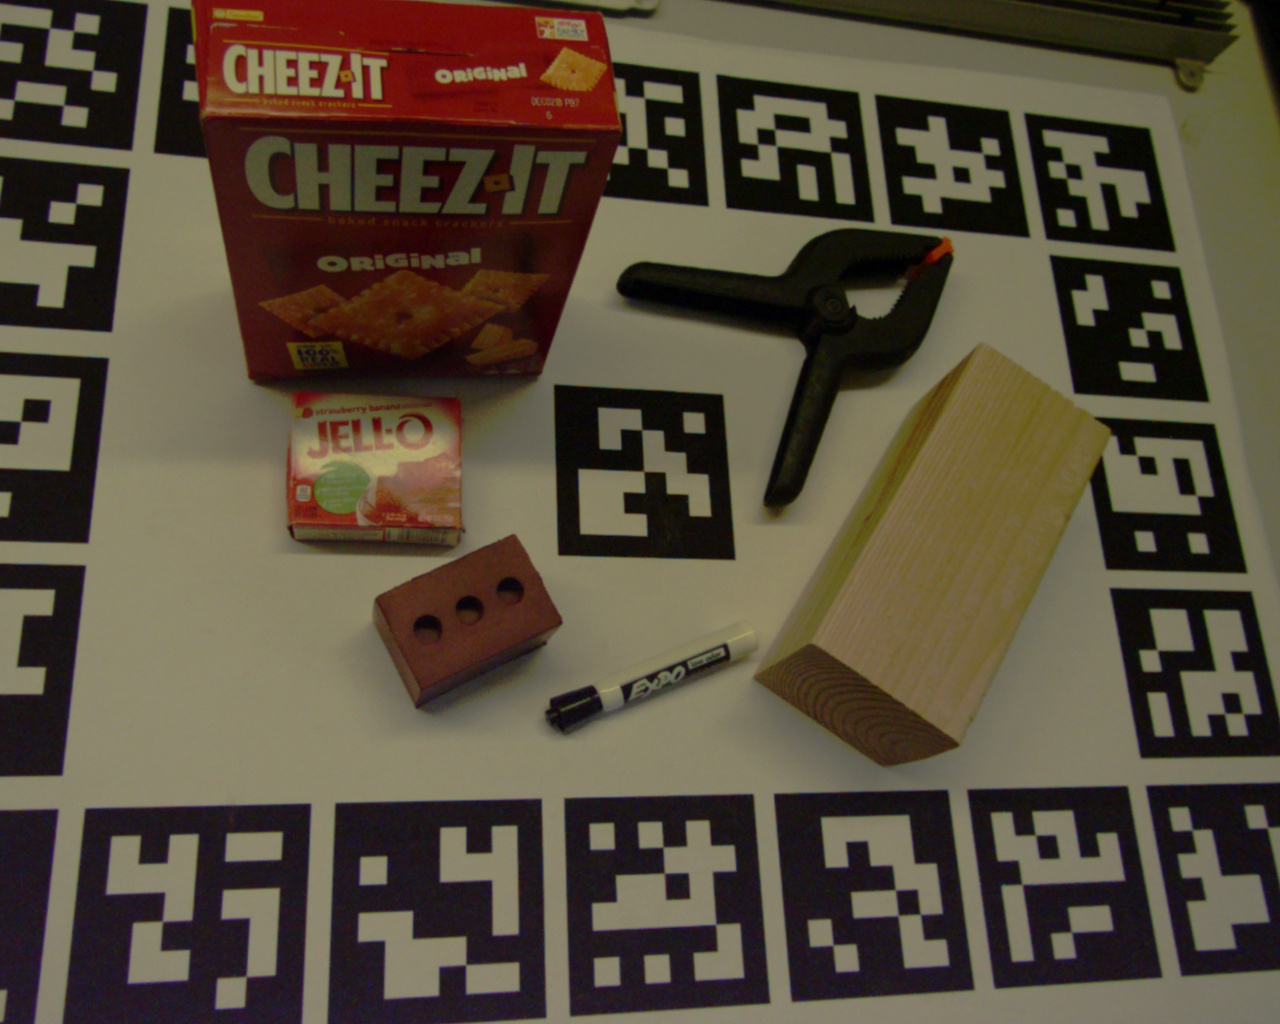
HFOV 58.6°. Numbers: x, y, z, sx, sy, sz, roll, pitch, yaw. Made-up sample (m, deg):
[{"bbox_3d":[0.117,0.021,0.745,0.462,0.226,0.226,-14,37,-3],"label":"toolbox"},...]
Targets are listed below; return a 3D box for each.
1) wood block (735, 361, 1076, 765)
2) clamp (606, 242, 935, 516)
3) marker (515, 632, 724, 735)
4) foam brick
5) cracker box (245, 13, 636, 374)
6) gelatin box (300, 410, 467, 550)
[{"bbox_3d":[0.151,0.028,0.652,0.090,0.091,0.205,34,66,1],"label":"wood block"},{"bbox_3d":[0.103,-0.111,0.708,0.201,0.037,0.166,-30,82,-19],"label":"clamp"},{"bbox_3d":[-0.011,0.094,0.626,0.120,0.020,0.020,-19,80,-17],"label":"marker"},{"bbox_3d":[-0.095,0.058,0.602,0.077,0.051,0.053,-23,82,-18],"label":"foam brick"},{"bbox_3d":[-0.108,-0.141,0.570,0.163,0.214,0.072,-1,73,-16],"label":"cracker box"},{"bbox_3d":[-0.141,-0.018,0.630,0.089,0.030,0.073,1,75,-13],"label":"gelatin box"}]
